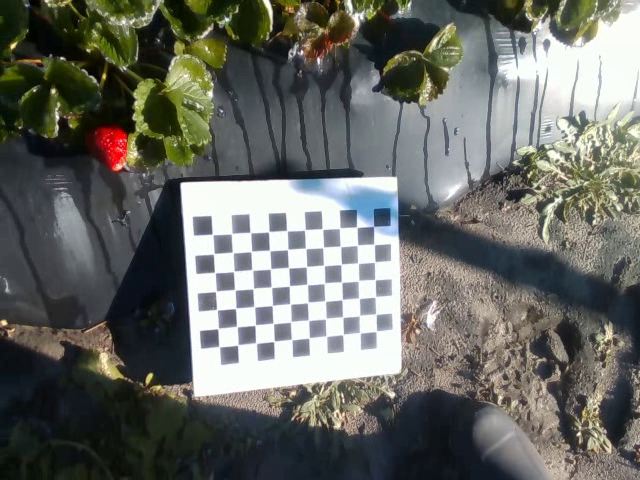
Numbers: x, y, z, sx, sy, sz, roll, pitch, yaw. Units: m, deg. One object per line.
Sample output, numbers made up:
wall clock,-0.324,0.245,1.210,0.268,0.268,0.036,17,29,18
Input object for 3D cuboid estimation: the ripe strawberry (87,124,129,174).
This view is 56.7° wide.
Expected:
ripe strawberry,-0.196,-0.085,0.548,0.041,0.053,0.047,-10,-31,-15
